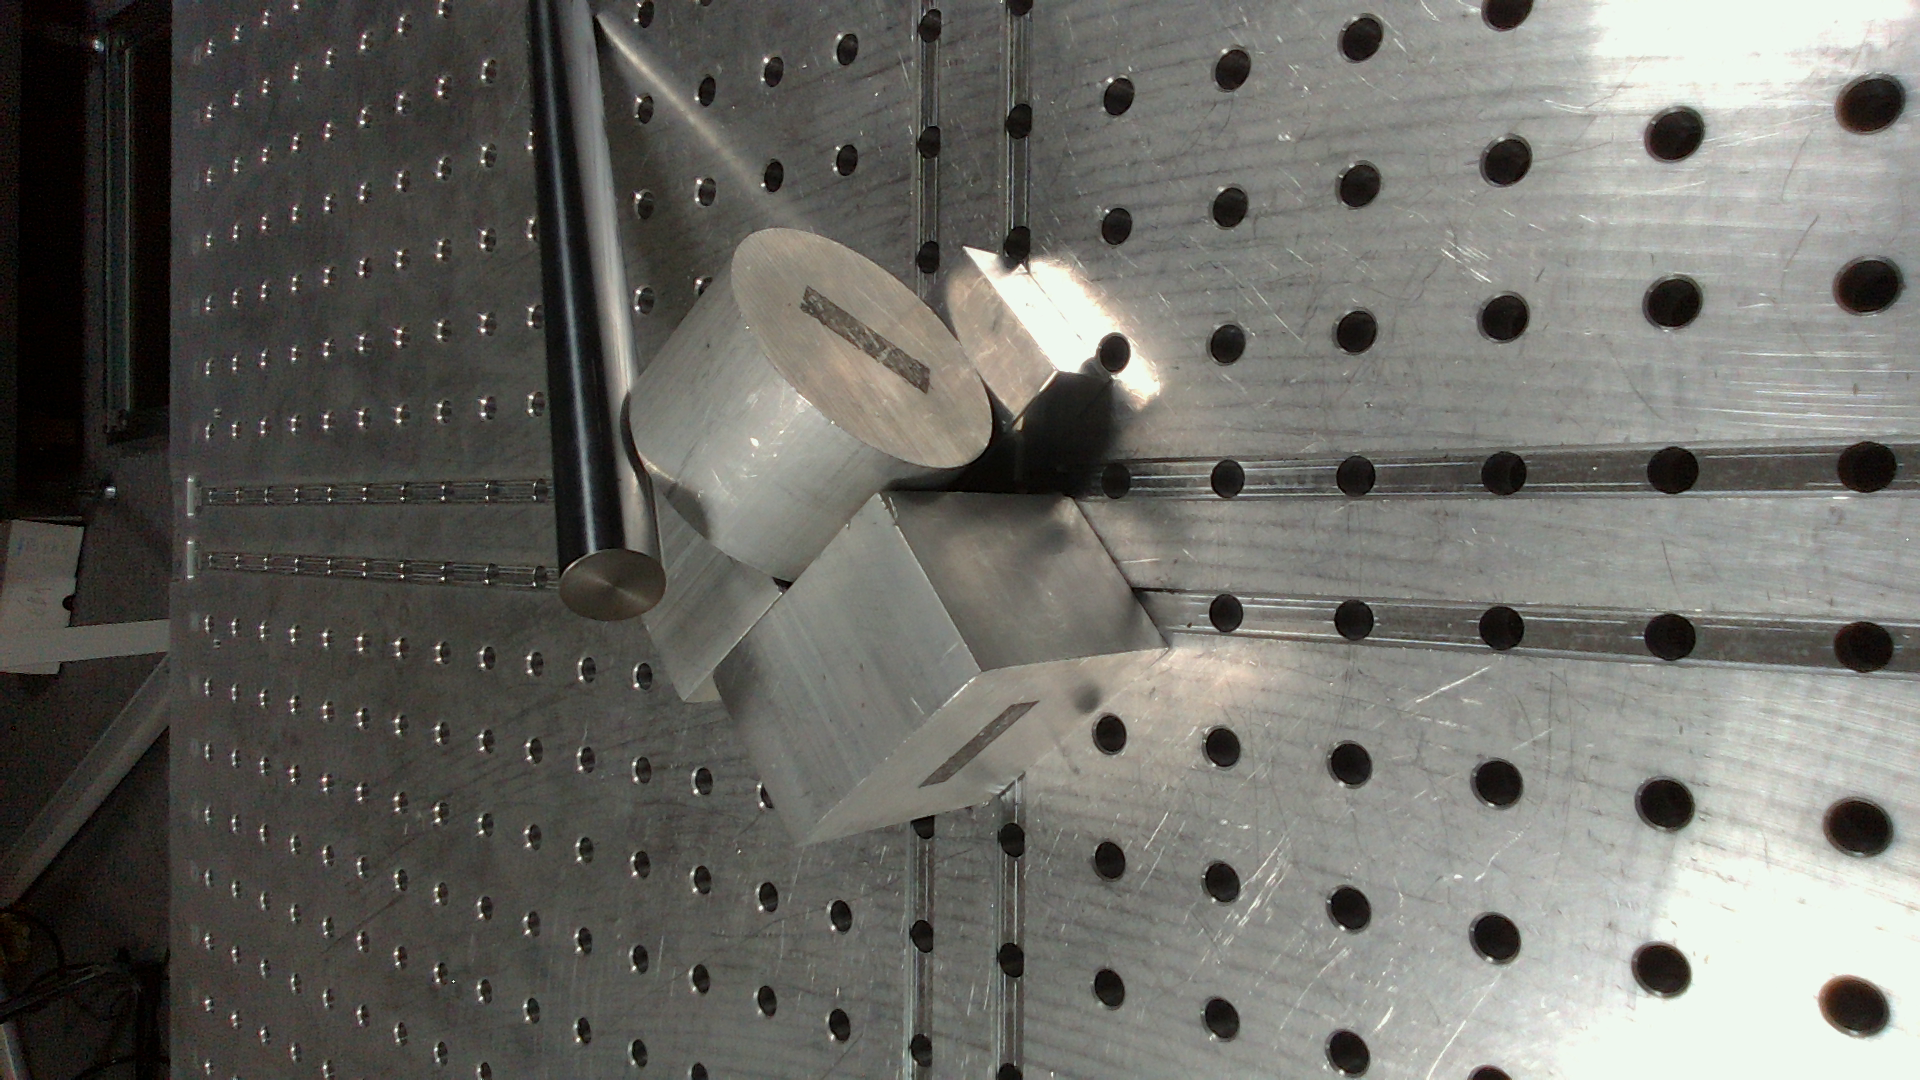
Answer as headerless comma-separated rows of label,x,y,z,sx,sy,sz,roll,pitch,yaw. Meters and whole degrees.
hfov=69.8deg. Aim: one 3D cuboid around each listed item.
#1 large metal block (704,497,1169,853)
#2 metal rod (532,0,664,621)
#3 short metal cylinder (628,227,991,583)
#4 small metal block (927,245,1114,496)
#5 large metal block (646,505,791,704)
large metal block,-0.006,0.034,0.365,0.080,0.080,0.050,-45,63,31
metal rod,-0.118,-0.094,0.429,0.025,0.025,0.300,-49,40,29
short metal cylinder,-0.039,-0.035,0.361,0.050,0.080,0.080,-44,63,31
small metal block,0.007,-0.046,0.392,0.050,0.025,0.050,-49,61,29
large metal block,-0.052,-0.002,0.407,0.050,0.080,0.080,-45,63,31
